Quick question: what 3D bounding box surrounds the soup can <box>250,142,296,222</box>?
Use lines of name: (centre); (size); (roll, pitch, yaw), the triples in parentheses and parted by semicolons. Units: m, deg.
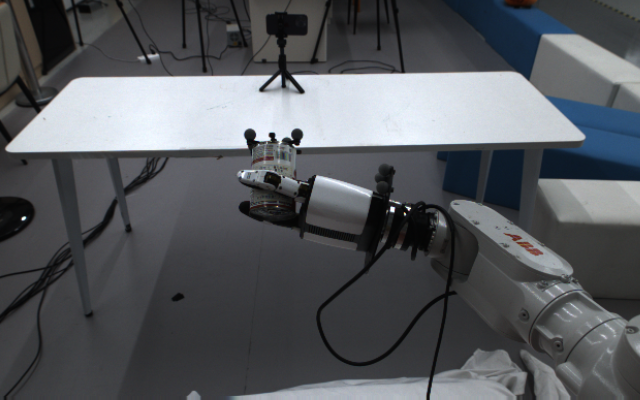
soup can: (-0.067, -0.026, 0.700); (0.067, 0.067, 0.101); (1, 73, -2)
